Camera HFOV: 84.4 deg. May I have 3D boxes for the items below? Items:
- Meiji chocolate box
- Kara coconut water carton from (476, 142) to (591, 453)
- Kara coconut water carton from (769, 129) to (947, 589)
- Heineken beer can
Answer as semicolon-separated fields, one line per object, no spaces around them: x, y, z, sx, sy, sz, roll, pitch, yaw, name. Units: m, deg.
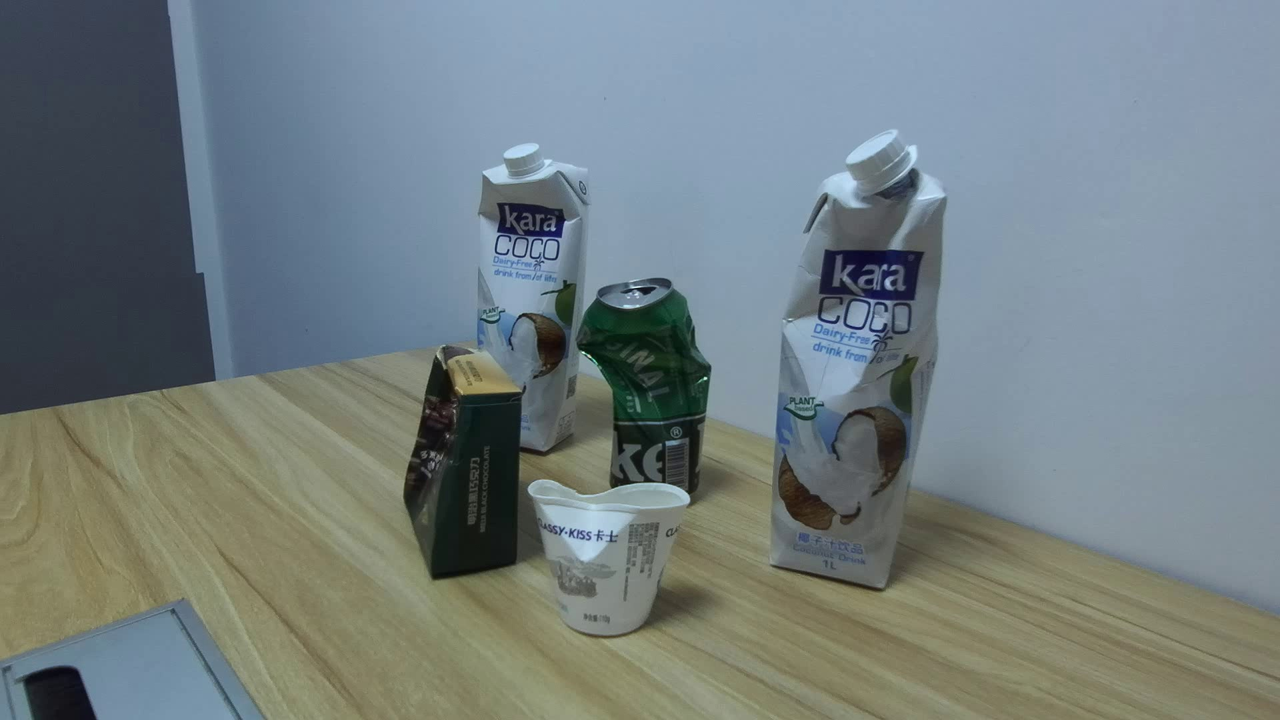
-0.115;0.057;0.446;0.058;0.110;0.112;2;14;-28;Meiji chocolate box
-0.089;-0.050;0.586;0.099;0.244;0.071;5;13;16;Kara coconut water carton
0.124;0.002;0.409;0.083;0.255;0.079;13;20;31;Kara coconut water carton
0.008;0.024;0.501;0.079;0.159;0.067;-19;22;-38;Heineken beer can
